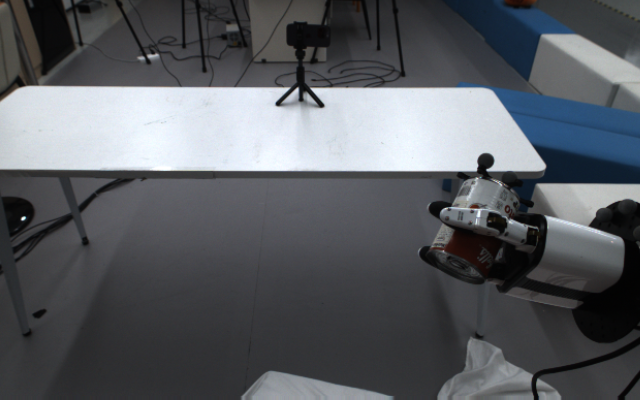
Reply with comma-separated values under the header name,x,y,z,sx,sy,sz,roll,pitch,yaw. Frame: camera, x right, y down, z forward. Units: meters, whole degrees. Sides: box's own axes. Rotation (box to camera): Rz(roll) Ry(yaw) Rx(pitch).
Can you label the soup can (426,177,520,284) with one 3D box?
name,x,y,z,sx,sy,sz,roll,pitch,yaw
soup can,0.173,0.032,0.536,0.067,0.067,0.101,22,71,26
